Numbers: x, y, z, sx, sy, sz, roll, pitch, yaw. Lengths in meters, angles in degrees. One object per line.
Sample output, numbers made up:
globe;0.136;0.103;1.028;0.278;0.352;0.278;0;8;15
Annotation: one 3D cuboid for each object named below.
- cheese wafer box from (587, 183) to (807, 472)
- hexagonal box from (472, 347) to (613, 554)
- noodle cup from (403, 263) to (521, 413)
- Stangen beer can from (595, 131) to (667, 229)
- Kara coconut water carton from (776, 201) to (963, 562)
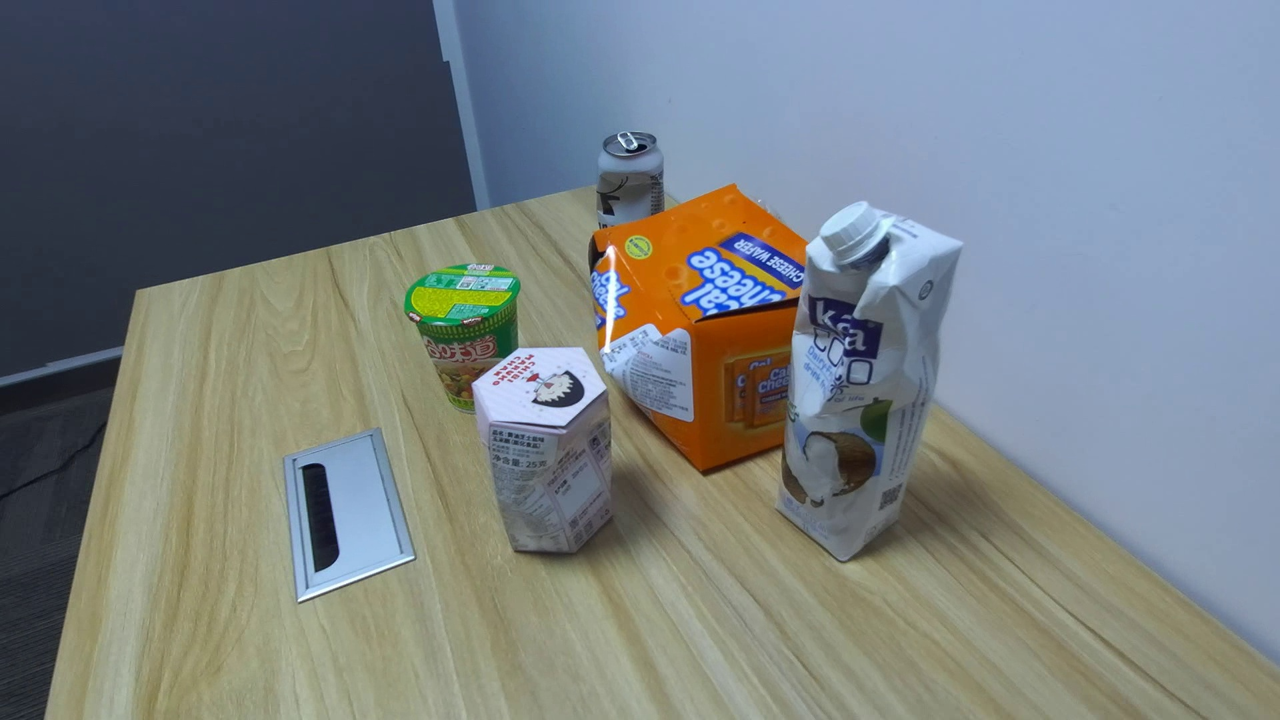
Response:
cheese wafer box;0.055;-0.037;0.614;0.192;0.145;0.218;-16;40;-19
hexagonal box;-0.060;0.065;0.496;0.091;0.135;0.090;-10;41;-9
noodle cup;-0.148;-0.013;0.626;0.097;0.110;0.097;-2;35;2
Stangen beer can;-0.007;-0.151;0.745;0.070;0.173;0.070;-19;43;-16
Kara coconut water carton;0.135;0.013;0.445;0.078;0.256;0.083;-20;40;-17
